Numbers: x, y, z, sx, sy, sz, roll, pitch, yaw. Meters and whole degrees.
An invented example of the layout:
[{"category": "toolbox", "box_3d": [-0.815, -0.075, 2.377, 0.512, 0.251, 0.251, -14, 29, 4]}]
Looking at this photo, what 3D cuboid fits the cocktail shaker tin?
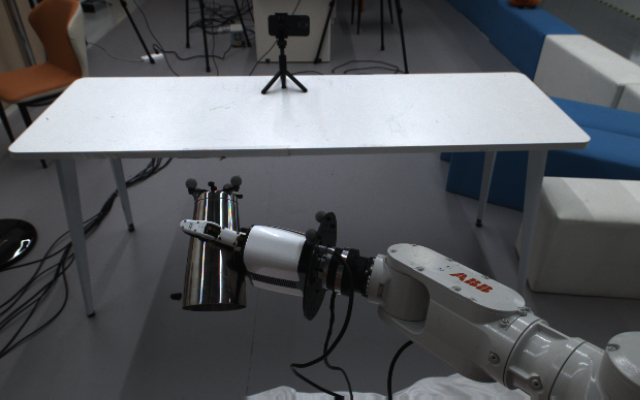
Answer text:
[{"category": "cocktail shaker tin", "box_3d": [-0.160, 0.077, 0.728, 0.093, 0.093, 0.170, -2, 70, -5]}]
